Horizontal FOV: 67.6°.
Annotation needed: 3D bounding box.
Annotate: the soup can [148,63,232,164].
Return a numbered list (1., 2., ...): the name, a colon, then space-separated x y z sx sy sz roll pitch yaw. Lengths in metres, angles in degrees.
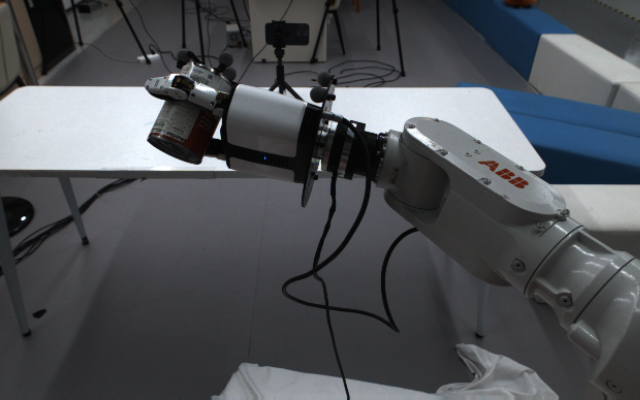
1. soup can: -0.153 -0.102 0.579 0.067 0.067 0.101 16 76 19
